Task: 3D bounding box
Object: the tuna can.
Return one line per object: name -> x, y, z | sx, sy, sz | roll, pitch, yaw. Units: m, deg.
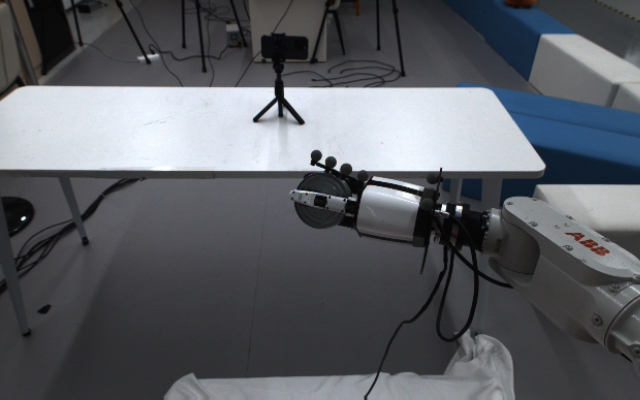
tuna can -> 0.007, 0.000, 0.740 | 0.085, 0.085, 0.034 | 13, 2, 16
